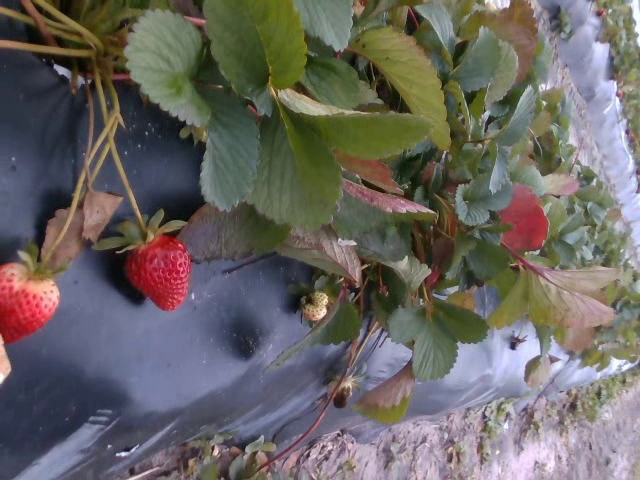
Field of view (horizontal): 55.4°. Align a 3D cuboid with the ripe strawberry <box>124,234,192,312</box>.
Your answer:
[{"bbox_3d":[-0.088,0.019,0.338,0.044,0.059,0.042,-14,35,-18],"label":"ripe strawberry"}]

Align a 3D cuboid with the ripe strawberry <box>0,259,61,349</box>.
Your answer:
[{"bbox_3d":[-0.136,0.032,0.275,0.027,0.041,0.036,35,5,39],"label":"ripe strawberry"}]
